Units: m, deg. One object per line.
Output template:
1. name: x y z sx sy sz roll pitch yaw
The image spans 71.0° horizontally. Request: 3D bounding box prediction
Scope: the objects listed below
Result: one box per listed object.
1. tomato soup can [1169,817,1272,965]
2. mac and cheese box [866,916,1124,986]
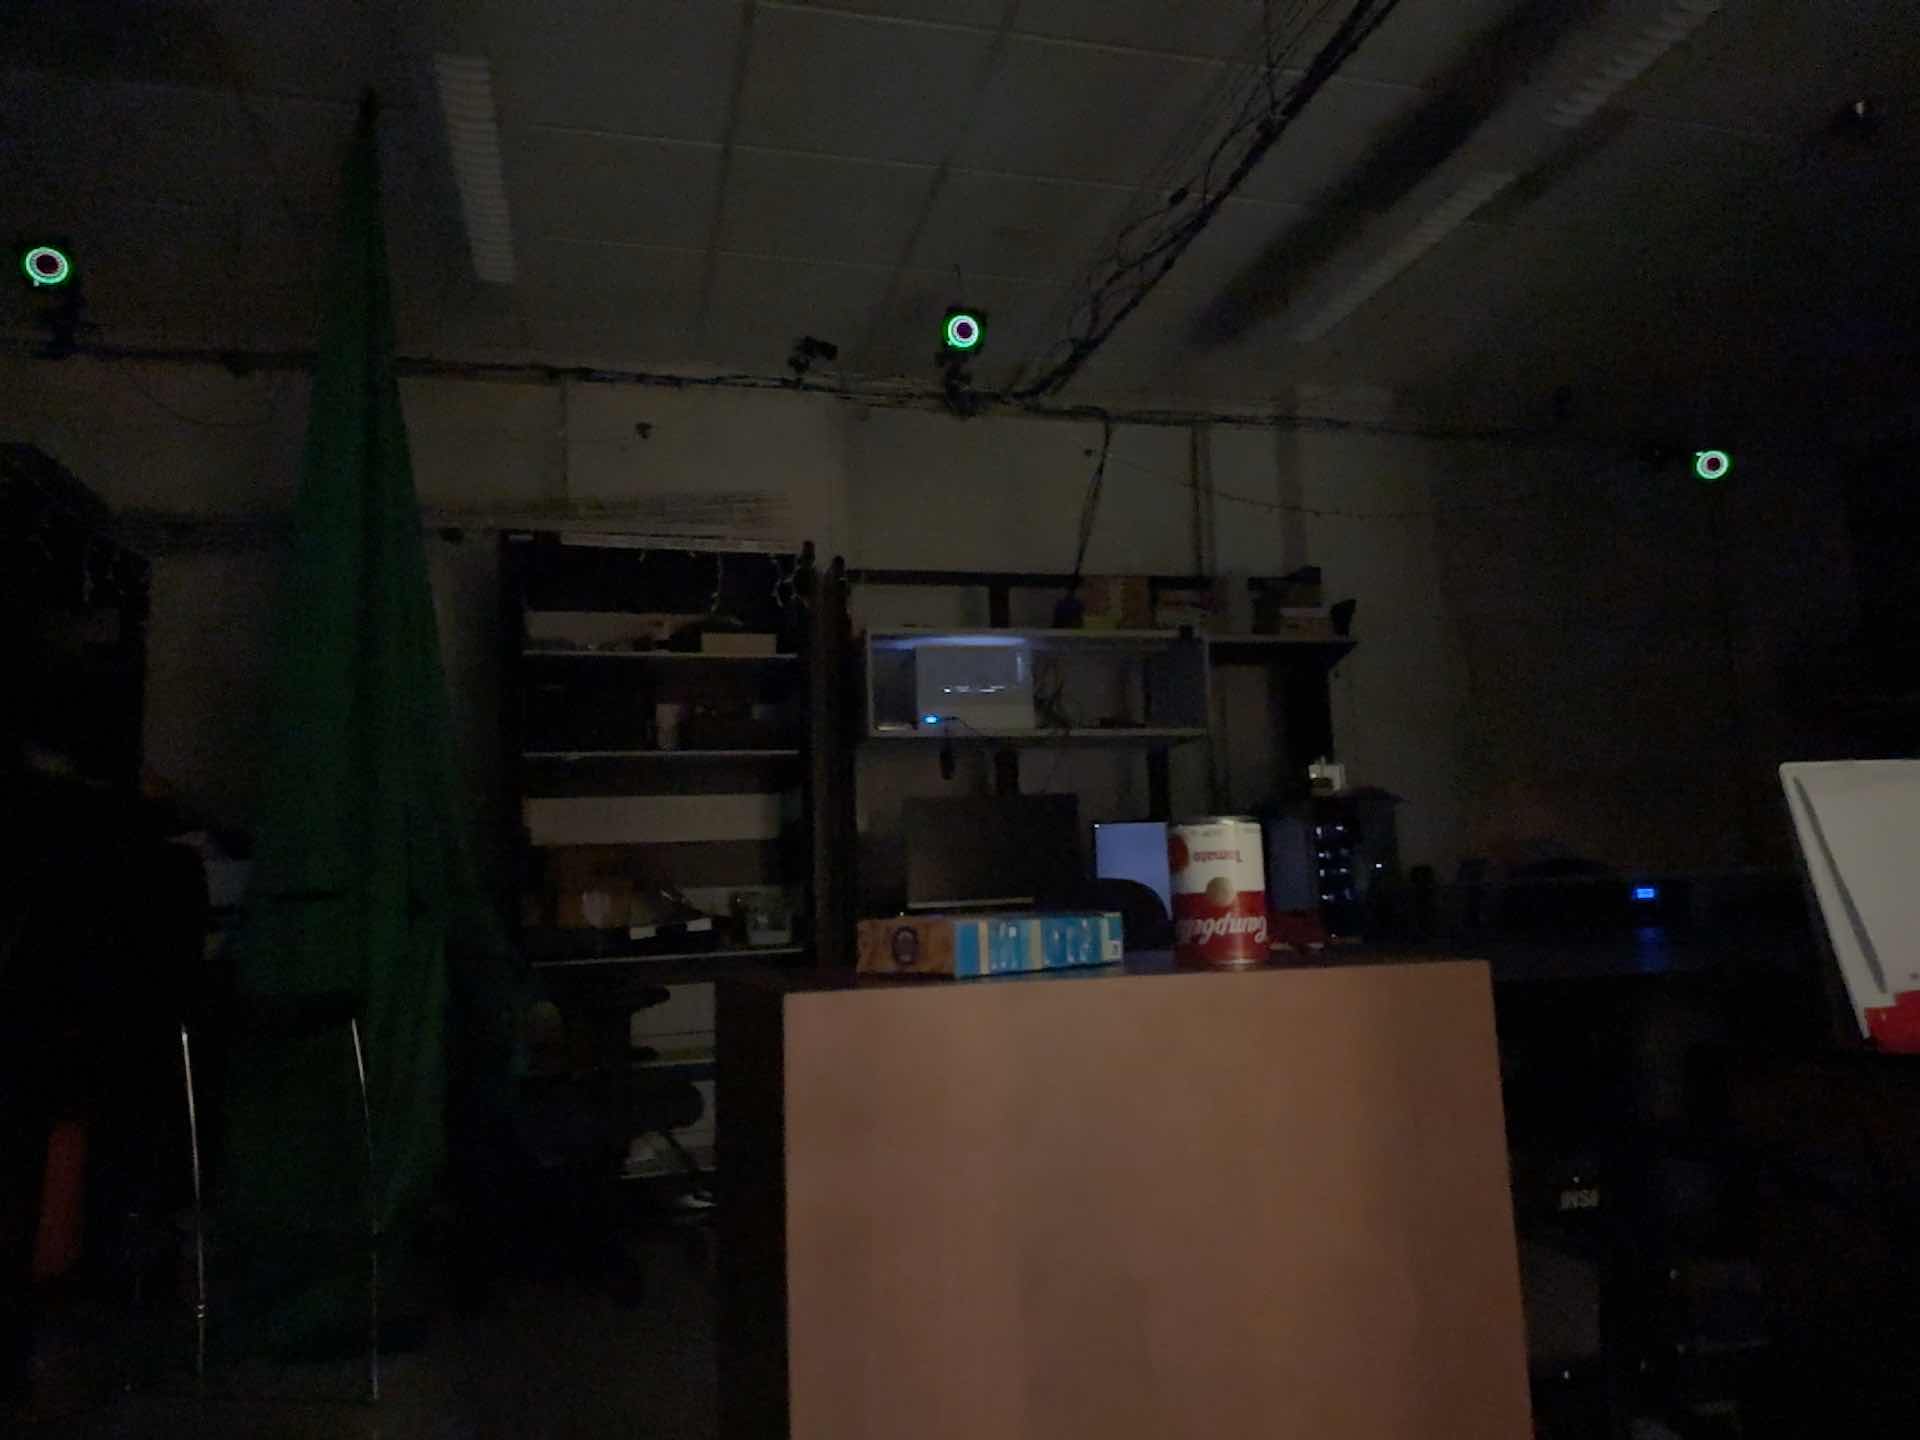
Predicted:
1. tomato soup can: 0.186 0.121 0.964 0.067 0.102 0.067 -2 -5 0
2. mac and cheese box: 0.029 0.161 0.949 0.088 0.035 0.181 -6 -8 39
